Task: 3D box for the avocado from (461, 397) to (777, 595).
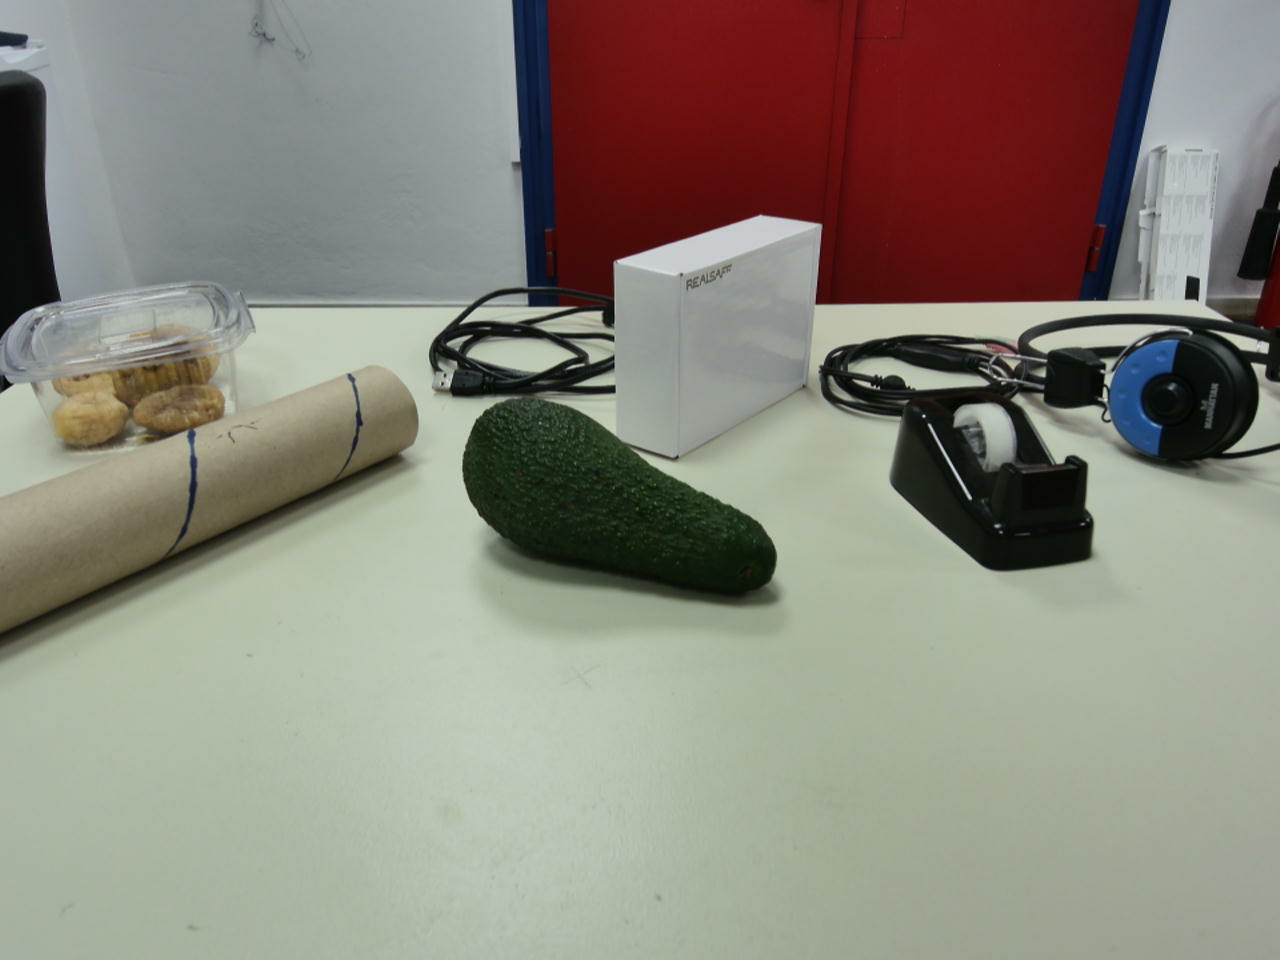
[{"bbox_3d":[-0.009,0.002,0.418,0.141,0.067,0.063,6,25,14],"label":"avocado"}]
